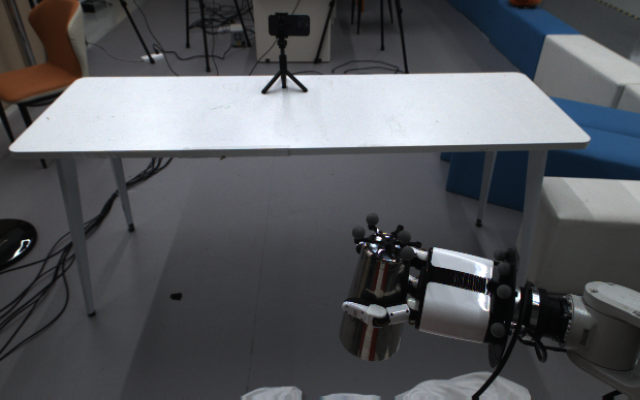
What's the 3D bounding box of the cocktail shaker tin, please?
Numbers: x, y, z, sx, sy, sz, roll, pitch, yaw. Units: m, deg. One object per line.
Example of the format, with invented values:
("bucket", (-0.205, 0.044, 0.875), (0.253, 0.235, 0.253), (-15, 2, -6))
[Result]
("cocktail shaker tin", (0.082, 0.132, 0.682), (0.093, 0.170, 0.093), (4, 32, -2))
